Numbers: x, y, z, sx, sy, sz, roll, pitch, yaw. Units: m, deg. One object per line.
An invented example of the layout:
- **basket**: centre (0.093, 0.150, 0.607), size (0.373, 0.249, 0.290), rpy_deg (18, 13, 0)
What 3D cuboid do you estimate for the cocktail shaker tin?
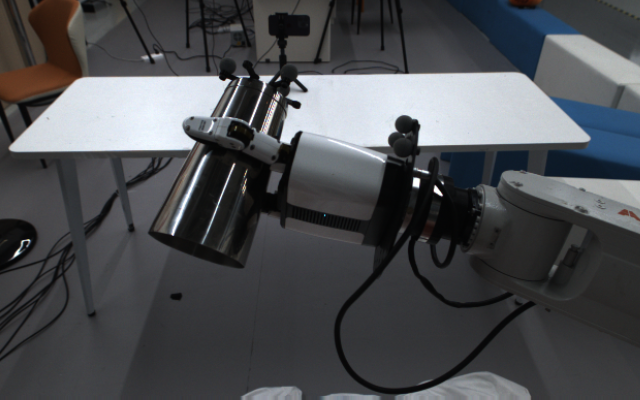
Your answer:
- **cocktail shaker tin**: centre (-0.088, -0.029, 0.469), size (0.093, 0.093, 0.170), rpy_deg (13, 70, 15)
